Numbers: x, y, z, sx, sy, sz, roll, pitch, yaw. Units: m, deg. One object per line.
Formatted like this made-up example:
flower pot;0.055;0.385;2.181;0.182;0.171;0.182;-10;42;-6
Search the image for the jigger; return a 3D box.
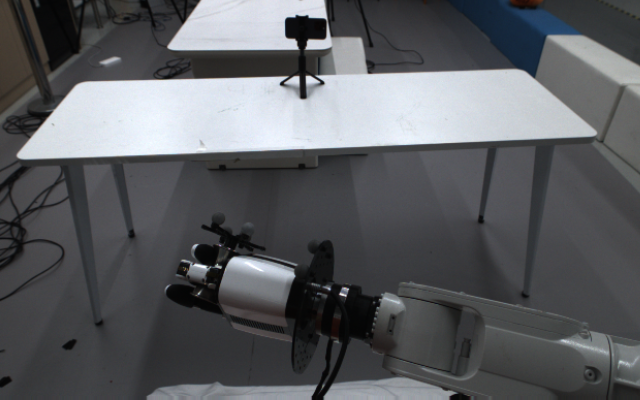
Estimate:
jigger;-0.127;0.093;0.607;0.043;0.043;0.071;15;71;18
